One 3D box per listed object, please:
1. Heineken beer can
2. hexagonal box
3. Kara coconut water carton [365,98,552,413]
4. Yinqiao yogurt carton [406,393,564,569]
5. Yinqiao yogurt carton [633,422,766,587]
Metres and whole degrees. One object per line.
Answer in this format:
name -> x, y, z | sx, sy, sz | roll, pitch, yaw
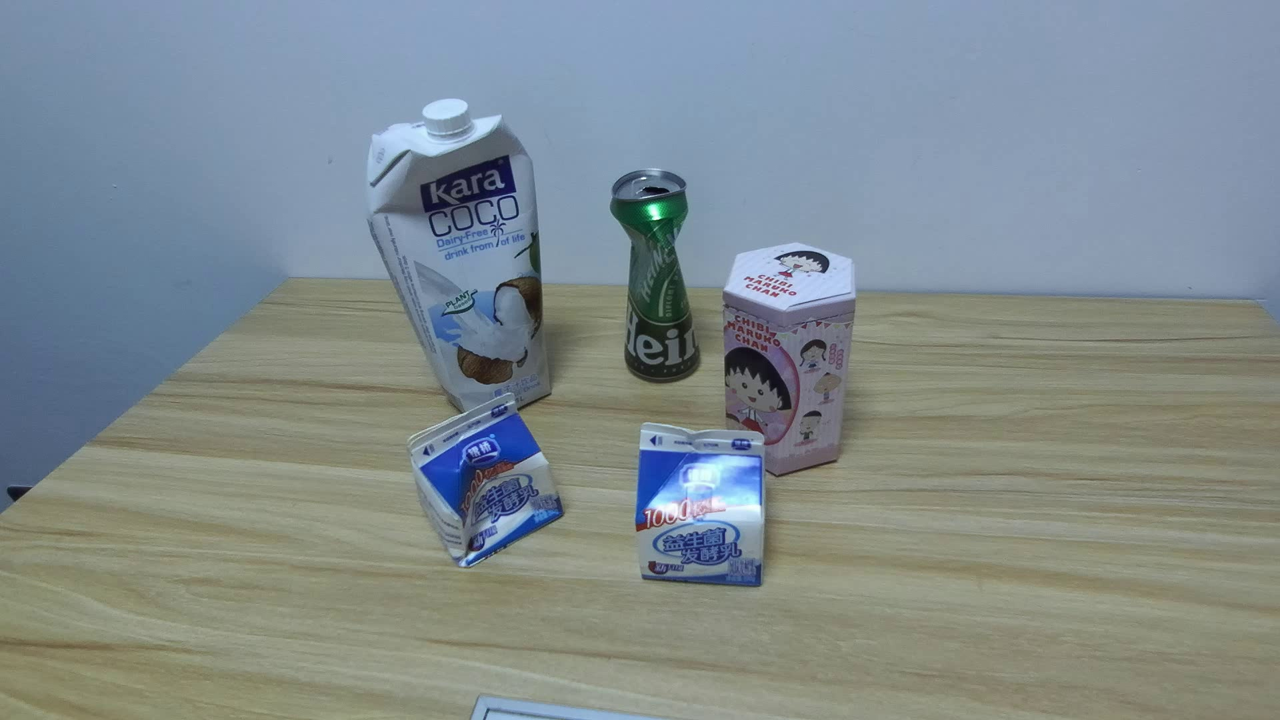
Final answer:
Heineken beer can -> 0.014, -0.064, 0.565 | 0.066, 0.164, 0.078 | 10, 38, 24
hexagonal box -> 0.100, 0.001, 0.480 | 0.091, 0.136, 0.084 | 25, 44, 36
Kara coconut water carton -> -0.126, -0.067, 0.520 | 0.115, 0.239, 0.069 | -26, 41, -28
Yinqiao yogurt carton -> -0.103, 0.067, 0.450 | 0.077, 0.094, 0.070 | -26, 44, -26
Yinqiao yogurt carton -> 0.038, 0.075, 0.420 | 0.075, 0.092, 0.073 | 2, 34, 9
